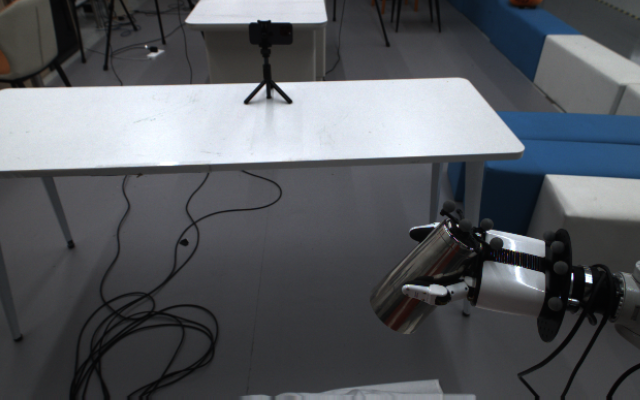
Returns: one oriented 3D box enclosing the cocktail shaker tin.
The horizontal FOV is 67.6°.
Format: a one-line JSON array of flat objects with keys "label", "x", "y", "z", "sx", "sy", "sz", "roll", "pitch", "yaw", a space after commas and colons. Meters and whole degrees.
[{"label": "cocktail shaker tin", "x": 0.157, "y": 0.103, "z": 0.712, "sx": 0.093, "sy": 0.170, "sz": 0.093, "roll": 26, "pitch": 32, "yaw": -17}]
